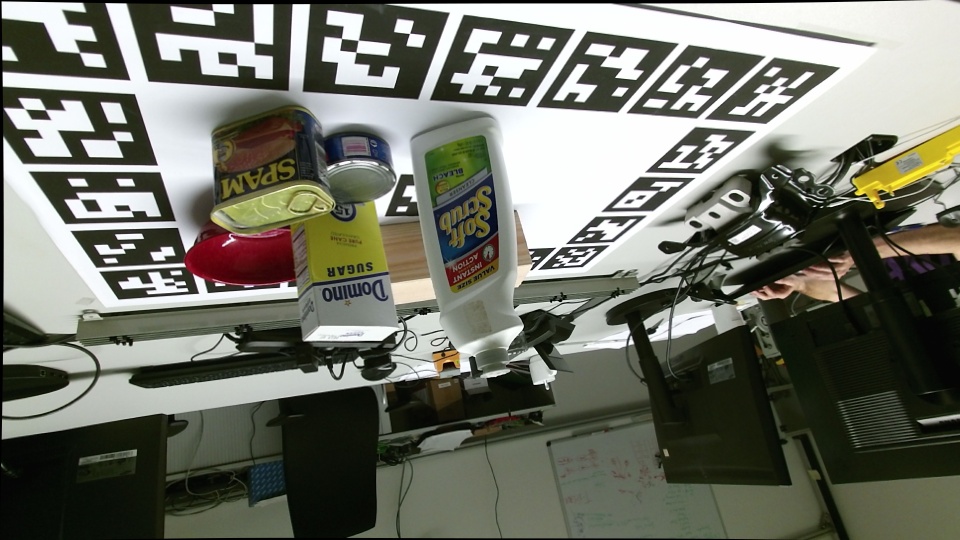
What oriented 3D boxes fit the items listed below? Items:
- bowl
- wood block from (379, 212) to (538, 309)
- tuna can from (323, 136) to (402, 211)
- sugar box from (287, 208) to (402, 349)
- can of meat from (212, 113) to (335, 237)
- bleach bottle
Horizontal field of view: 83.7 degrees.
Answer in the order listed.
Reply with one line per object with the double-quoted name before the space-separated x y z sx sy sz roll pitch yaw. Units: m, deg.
"bowl" -0.263 -0.025 0.635 0.162 0.055 0.162 -15 161 -5
"wood block" -0.035 -0.012 0.767 0.207 0.089 0.091 -8 154 -13
"tuna can" -0.125 -0.098 0.553 0.086 0.033 0.086 -13 156 -6
"sugar box" -0.149 -0.008 0.573 0.093 0.175 0.045 2 153 -43
"can of meat" -0.192 -0.086 0.493 0.102 0.083 0.058 -15 162 7
"bleach bottle" -0.001 -0.021 0.534 0.103 0.249 0.068 -15 160 2
